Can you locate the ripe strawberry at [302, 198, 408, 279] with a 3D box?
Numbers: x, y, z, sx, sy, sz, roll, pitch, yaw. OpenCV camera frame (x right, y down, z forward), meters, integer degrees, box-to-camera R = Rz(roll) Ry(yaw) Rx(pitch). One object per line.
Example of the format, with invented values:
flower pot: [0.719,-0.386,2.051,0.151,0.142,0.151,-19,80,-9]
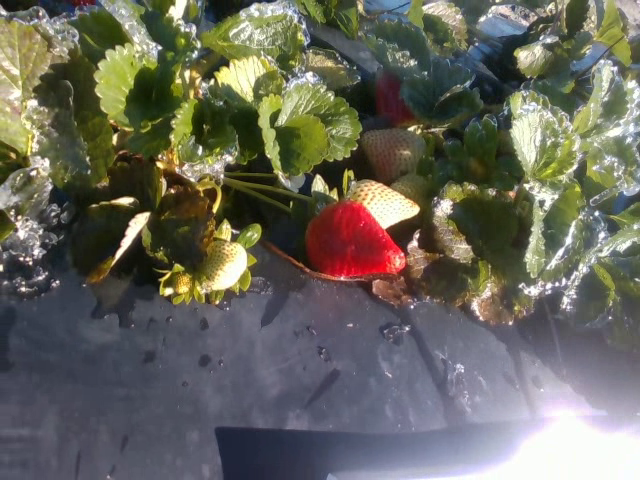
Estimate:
ripe strawberry: [0.019,0.003,0.262,0.040,0.042,0.053,-33,37,-26]
